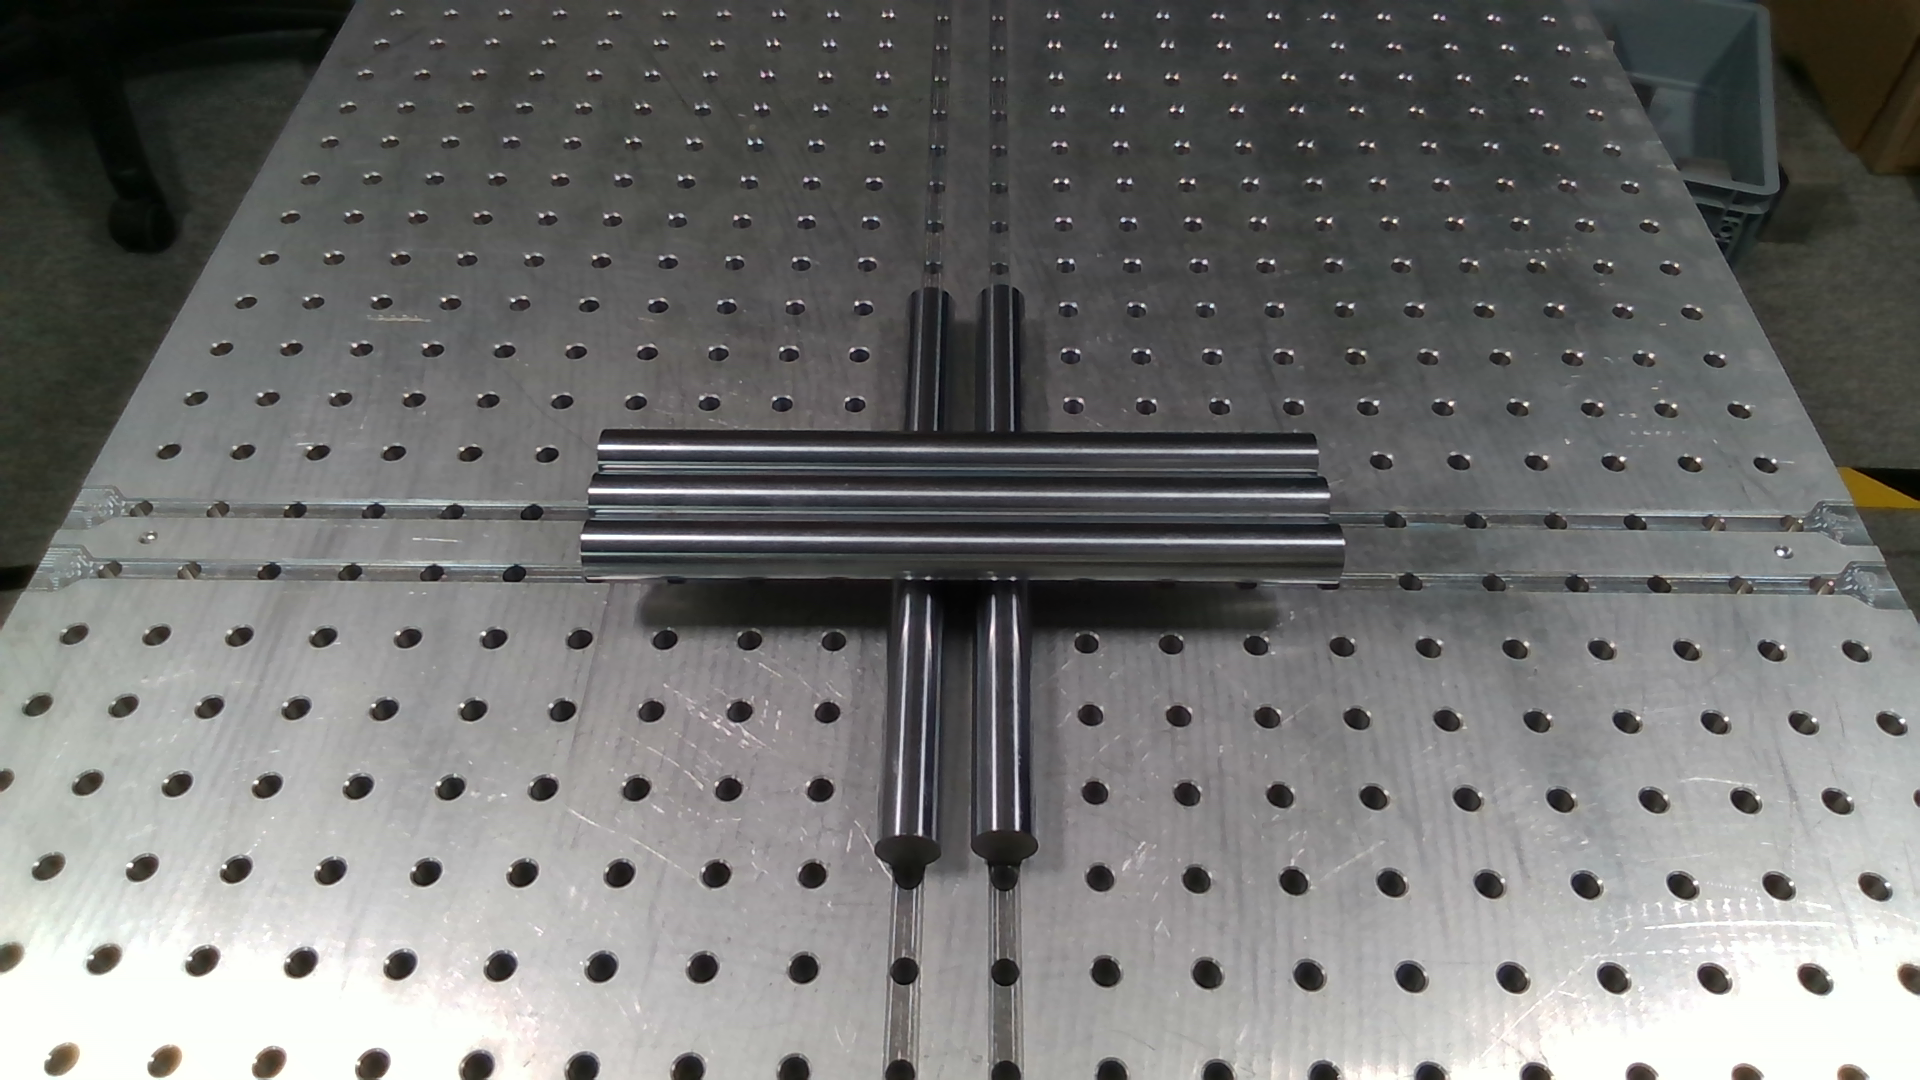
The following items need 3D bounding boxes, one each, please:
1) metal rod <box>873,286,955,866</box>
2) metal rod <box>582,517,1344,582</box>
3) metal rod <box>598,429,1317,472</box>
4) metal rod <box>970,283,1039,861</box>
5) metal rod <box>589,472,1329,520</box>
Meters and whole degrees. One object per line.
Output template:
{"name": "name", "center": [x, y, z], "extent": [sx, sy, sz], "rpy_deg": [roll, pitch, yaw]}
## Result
{"name": "metal rod", "center": [-0.017, -0.003, 0.593], "extent": [0.025, 0.025, 0.299], "rpy_deg": [1, 50, 1]}
{"name": "metal rod", "center": [0.001, 0.004, 0.555], "extent": [0.300, 0.025, 0.025], "rpy_deg": [0, 50, 0]}
{"name": "metal rod", "center": [-0.001, -0.034, 0.586], "extent": [0.300, 0.025, 0.025], "rpy_deg": [0, 50, 0]}
{"name": "metal rod", "center": [0.018, -0.004, 0.594], "extent": [0.025, 0.025, 0.299], "rpy_deg": [1, 50, 1]}
{"name": "metal rod", "center": [-0.001, -0.015, 0.570], "extent": [0.300, 0.025, 0.025], "rpy_deg": [0, 50, 0]}
